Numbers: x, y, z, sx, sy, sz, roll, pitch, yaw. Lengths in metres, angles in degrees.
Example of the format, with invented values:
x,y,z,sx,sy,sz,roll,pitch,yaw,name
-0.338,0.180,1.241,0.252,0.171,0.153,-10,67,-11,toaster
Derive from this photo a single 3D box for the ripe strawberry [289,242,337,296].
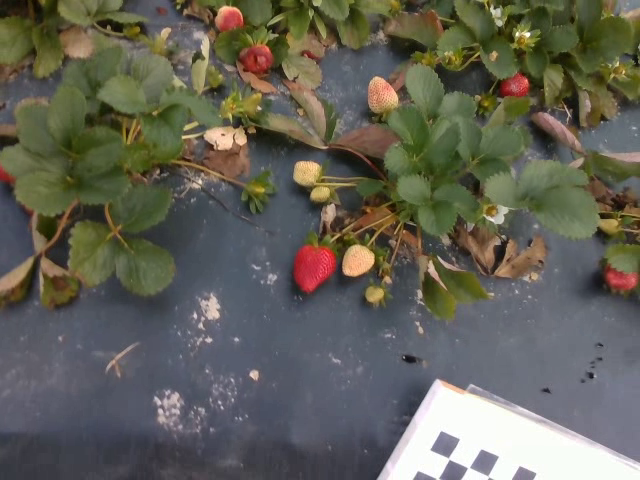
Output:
x,y,z,sx,sy,sz,roll,pitch,yaw,name
-0.008,0.028,0.602,0.050,0.059,0.034,14,-42,-4,ripe strawberry
